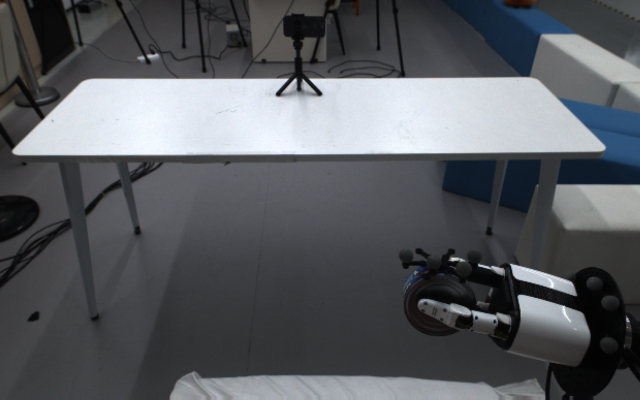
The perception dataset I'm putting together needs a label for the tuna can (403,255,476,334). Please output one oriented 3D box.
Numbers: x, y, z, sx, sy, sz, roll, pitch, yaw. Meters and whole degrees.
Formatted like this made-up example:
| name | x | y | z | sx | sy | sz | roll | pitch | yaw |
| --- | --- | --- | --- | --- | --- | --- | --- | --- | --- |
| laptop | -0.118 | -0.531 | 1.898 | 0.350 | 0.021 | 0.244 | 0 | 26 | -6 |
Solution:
| name | x | y | z | sx | sy | sz | roll | pitch | yaw |
| --- | --- | --- | --- | --- | --- | --- | --- | --- | --- |
| tuna can | 0.147 | 0.120 | 0.593 | 0.085 | 0.085 | 0.034 | 5 | 16 | 4 |
